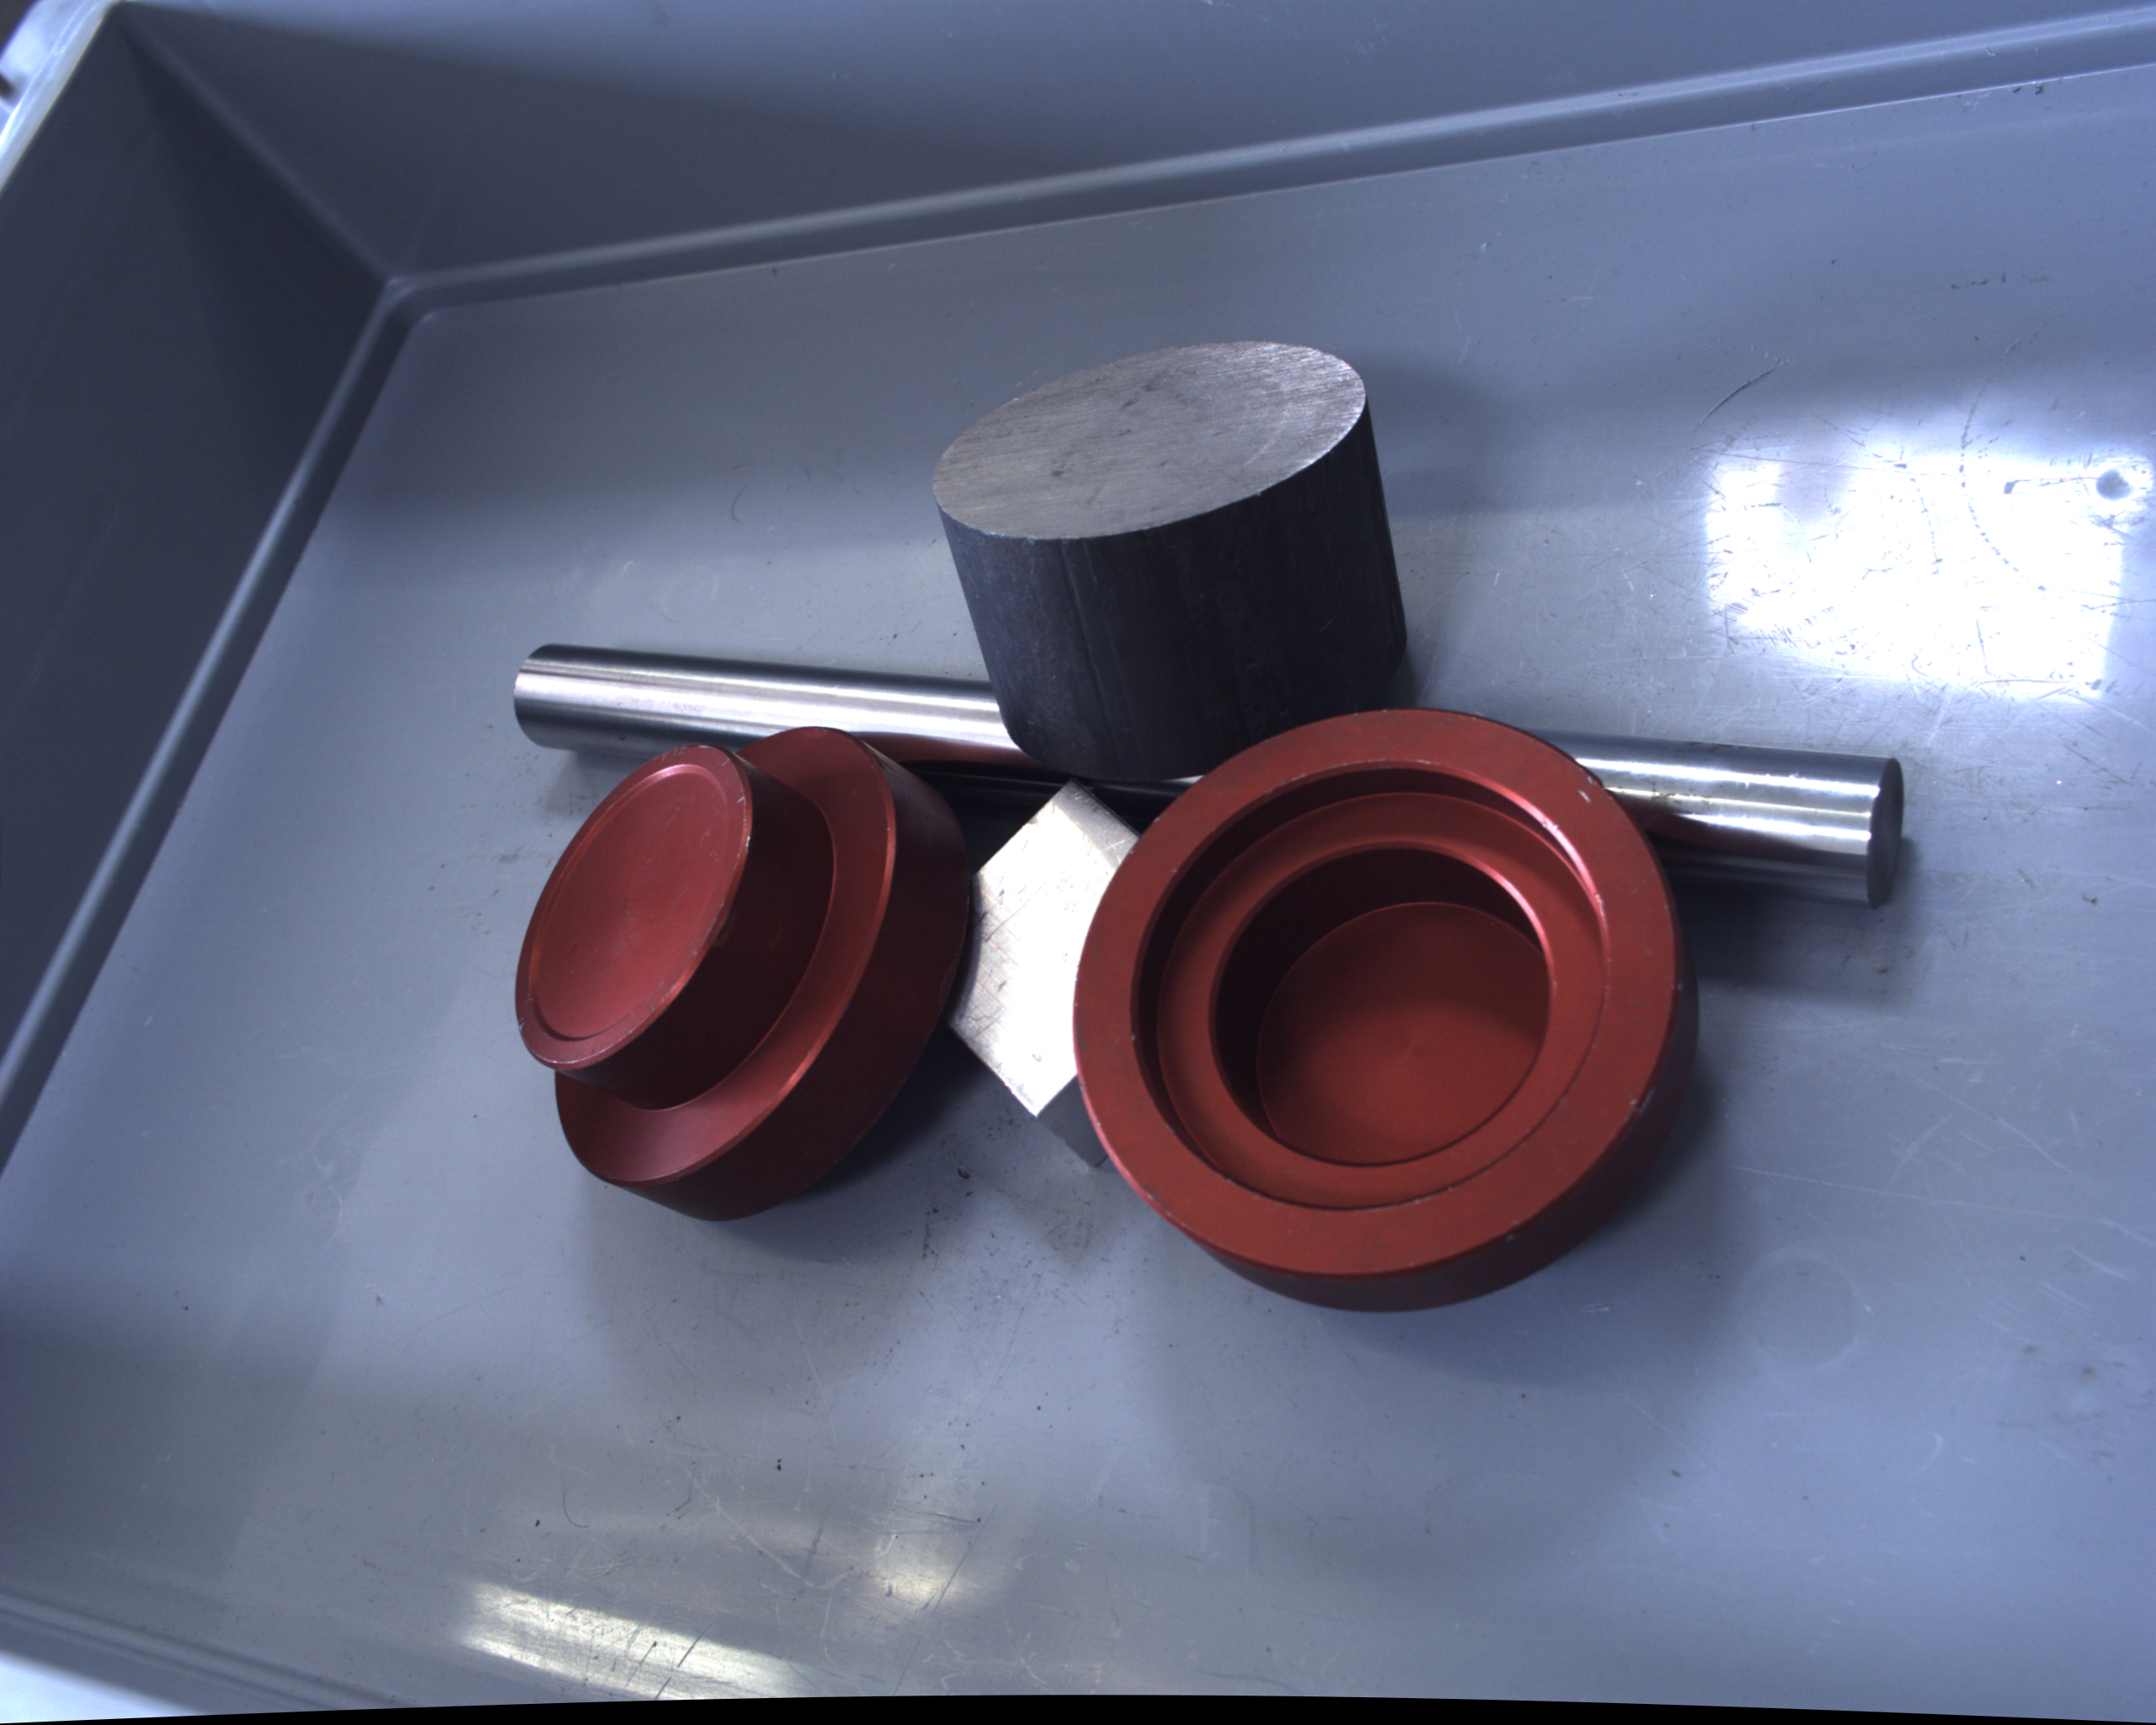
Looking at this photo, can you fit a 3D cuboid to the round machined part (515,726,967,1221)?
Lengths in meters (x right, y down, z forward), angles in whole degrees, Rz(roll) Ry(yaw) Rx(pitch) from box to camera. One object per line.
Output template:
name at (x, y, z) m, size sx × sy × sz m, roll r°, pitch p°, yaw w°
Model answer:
round machined part at (-0.071, 0.016, 0.403) m, size 0.098 × 0.042 × 0.098 m, roll -28°, pitch 45°, yaw 33°

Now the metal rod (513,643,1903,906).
metal rod at (0.003, -0.022, 0.415) m, size 0.300 × 0.025 × 0.025 m, roll 8°, pitch 66°, yaw 31°

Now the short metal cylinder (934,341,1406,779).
short metal cylinder at (0.018, -0.059, 0.395) m, size 0.080 × 0.050 × 0.080 m, roll -11°, pitch 34°, yaw 7°

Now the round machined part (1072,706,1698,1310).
round machined part at (0.052, 0.026, 0.346) m, size 0.098 × 0.042 × 0.098 m, roll -11°, pitch 60°, yaw 19°

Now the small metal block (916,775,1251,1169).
small metal block at (0.001, 0.020, 0.390) m, size 0.050 × 0.025 × 0.050 m, roll -45°, pitch 51°, yaw -3°
